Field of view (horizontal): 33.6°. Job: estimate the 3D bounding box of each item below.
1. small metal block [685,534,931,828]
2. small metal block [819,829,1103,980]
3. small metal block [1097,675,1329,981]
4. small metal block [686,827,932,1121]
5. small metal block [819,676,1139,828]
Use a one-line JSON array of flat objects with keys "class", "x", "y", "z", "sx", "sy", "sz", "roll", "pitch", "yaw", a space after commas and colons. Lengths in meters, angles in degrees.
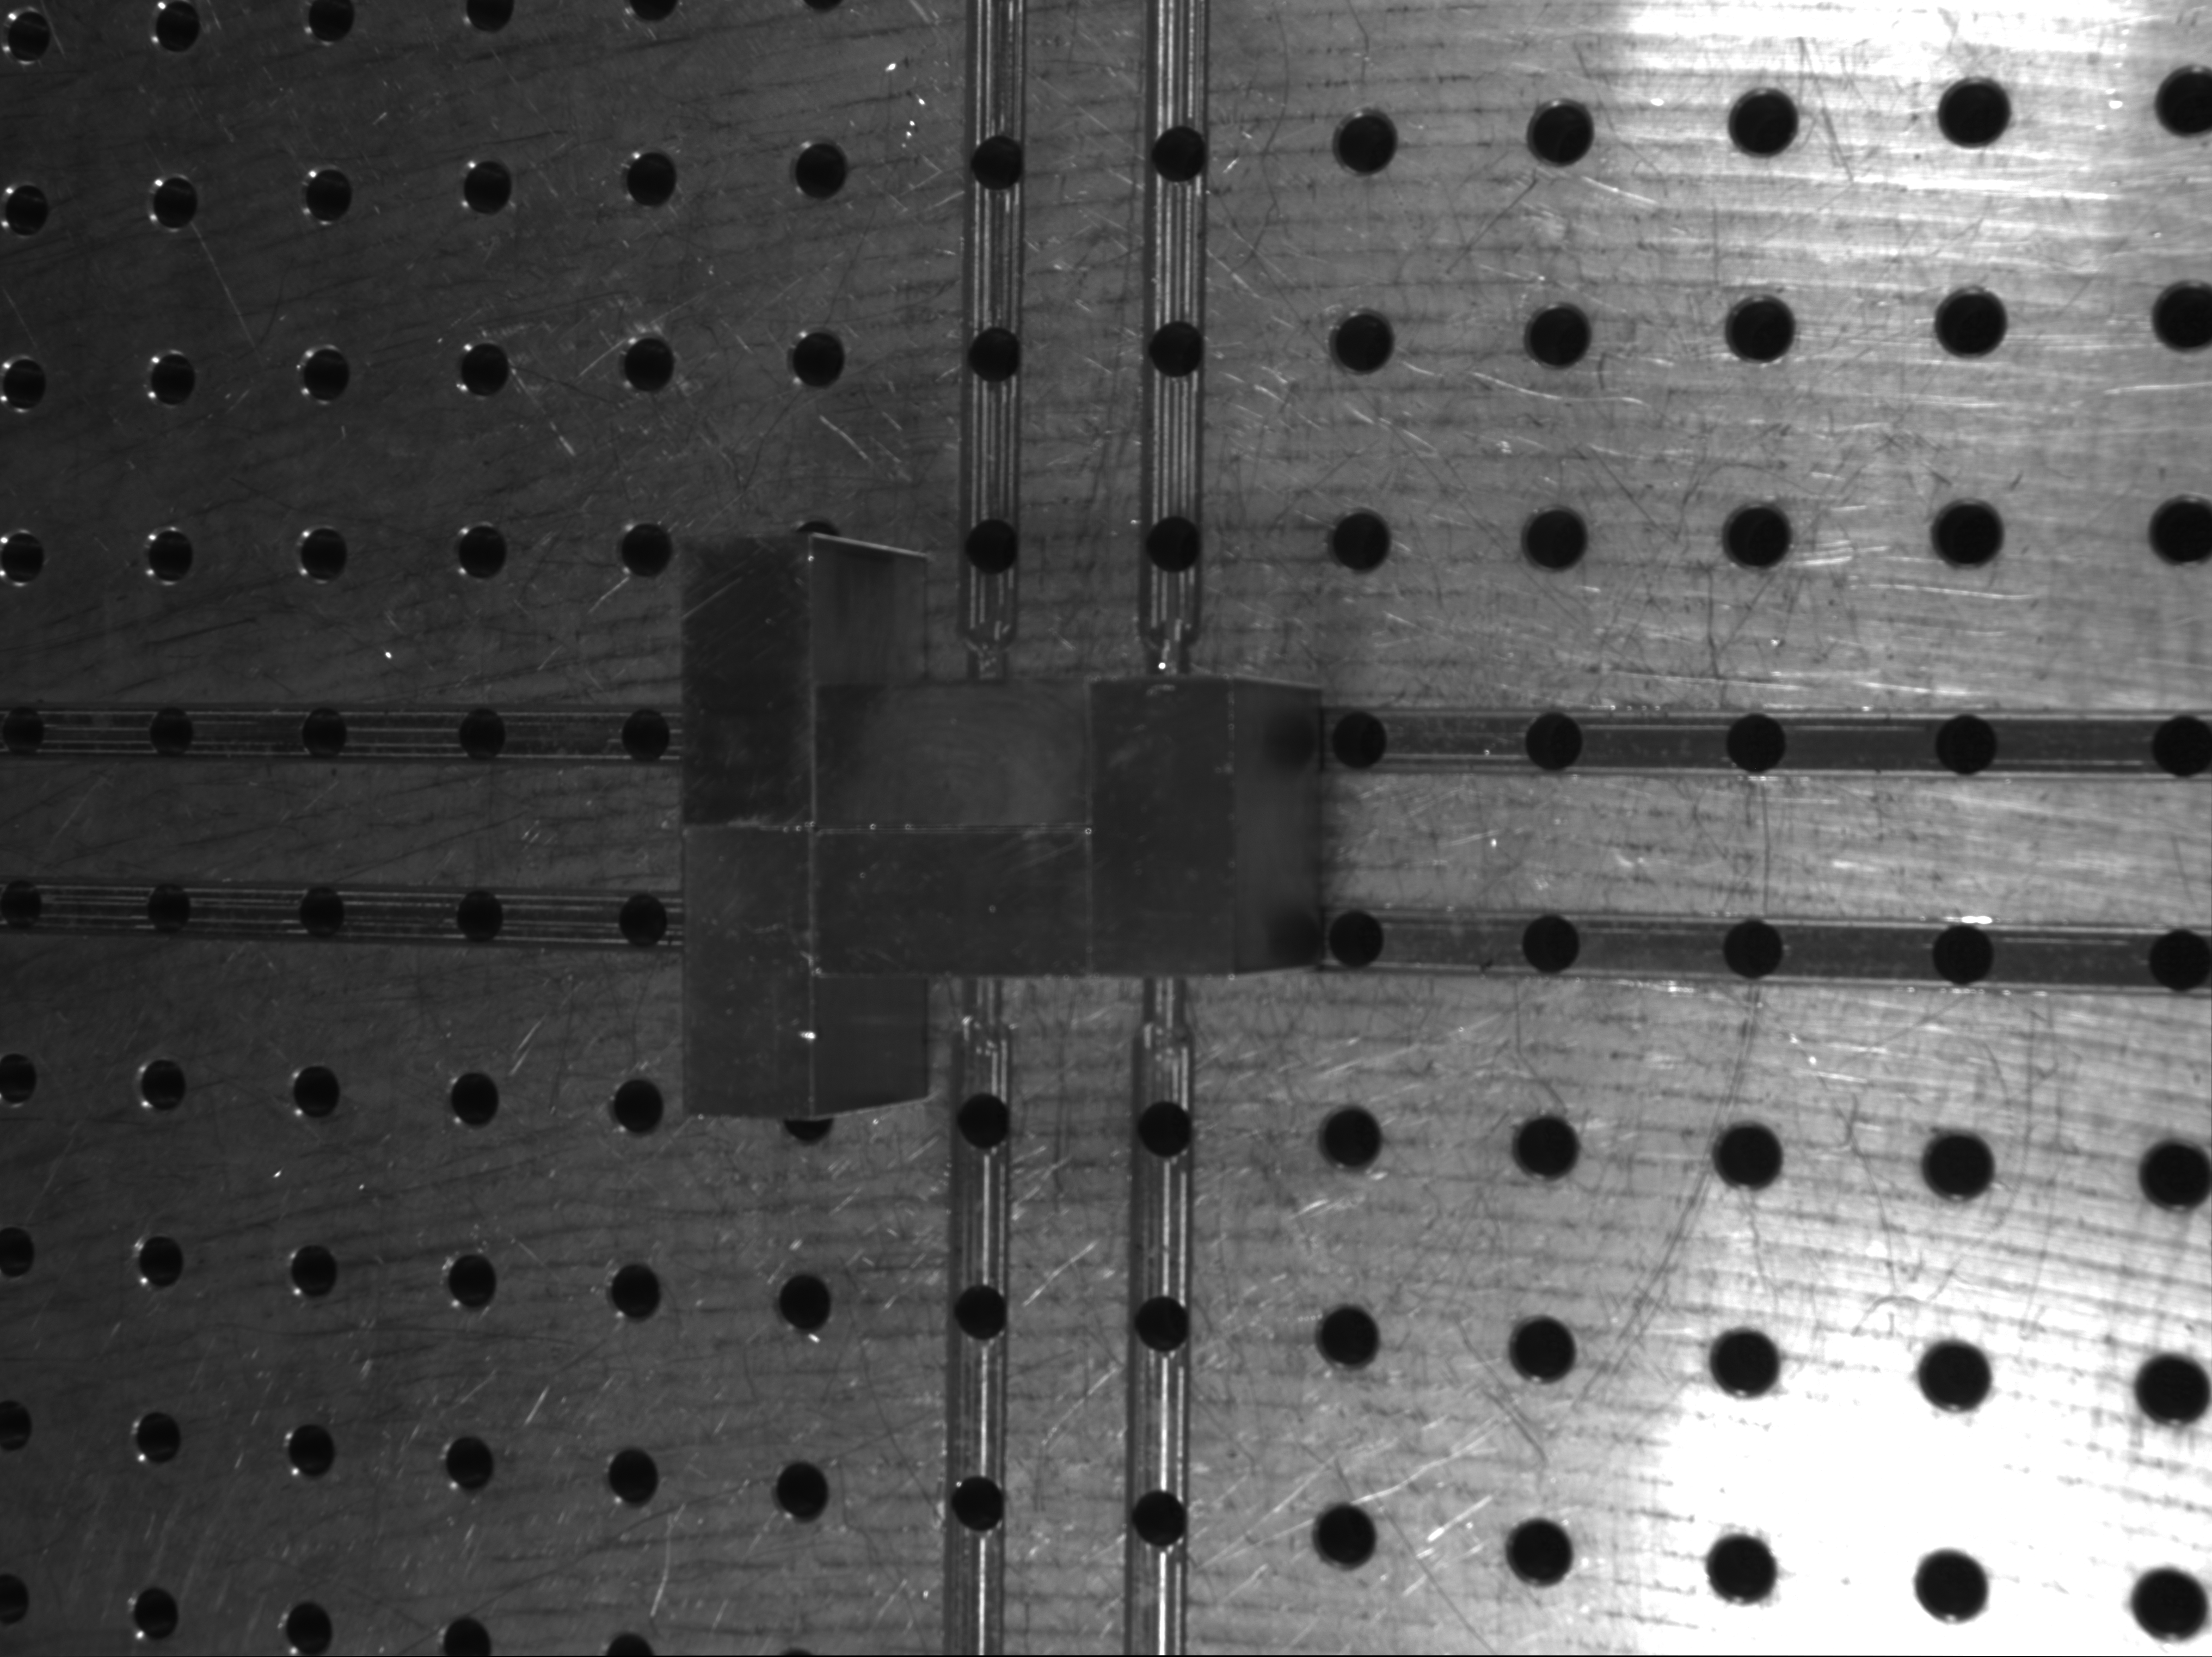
[{"class": "small metal block", "x": -0.052, "y": -0.025, "z": 0.651, "sx": 0.025, "sy": 0.050, "sz": 0.050, "roll": 0, "pitch": 90, "yaw": 20}, {"class": "small metal block", "x": -0.017, "y": 0.013, "z": 0.639, "sx": 0.050, "sy": 0.050, "sz": 0.025, "roll": 0, "pitch": 90, "yaw": 20}, {"class": "small metal block", "x": 0.019, "y": 0.000, "z": 0.626, "sx": 0.025, "sy": 0.050, "sz": 0.050, "roll": 0, "pitch": 90, "yaw": 20}, {"class": "small metal block", "x": -0.052, "y": 0.025, "z": 0.651, "sx": 0.025, "sy": 0.050, "sz": 0.050, "roll": 0, "pitch": 90, "yaw": 20}, {"class": "small metal block", "x": -0.017, "y": -0.013, "z": 0.639, "sx": 0.050, "sy": 0.050, "sz": 0.025, "roll": 0, "pitch": 90, "yaw": 20}]
